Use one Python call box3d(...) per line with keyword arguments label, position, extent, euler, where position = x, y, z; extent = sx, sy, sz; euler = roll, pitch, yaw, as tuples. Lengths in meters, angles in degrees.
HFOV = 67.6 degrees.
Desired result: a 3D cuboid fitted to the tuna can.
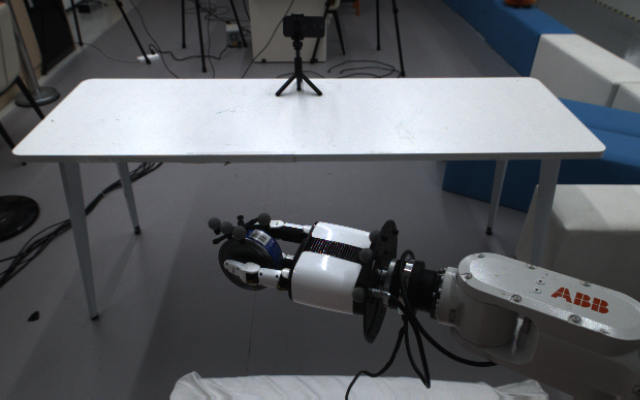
box3d(label="tuna can", position=(-0.093, 0.086, 0.671), extent=(0.085, 0.085, 0.034), euler=(13, 28, 15))
